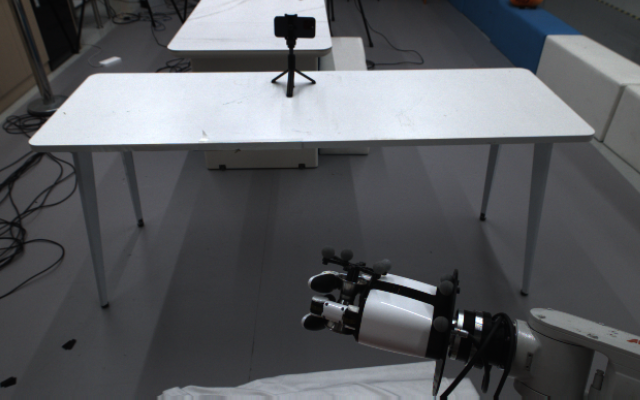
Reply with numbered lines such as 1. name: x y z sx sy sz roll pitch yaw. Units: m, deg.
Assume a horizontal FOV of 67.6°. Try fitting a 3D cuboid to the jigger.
1. jigger: 0.038 0.137 0.639 0.043 0.071 0.043 14 1 0
